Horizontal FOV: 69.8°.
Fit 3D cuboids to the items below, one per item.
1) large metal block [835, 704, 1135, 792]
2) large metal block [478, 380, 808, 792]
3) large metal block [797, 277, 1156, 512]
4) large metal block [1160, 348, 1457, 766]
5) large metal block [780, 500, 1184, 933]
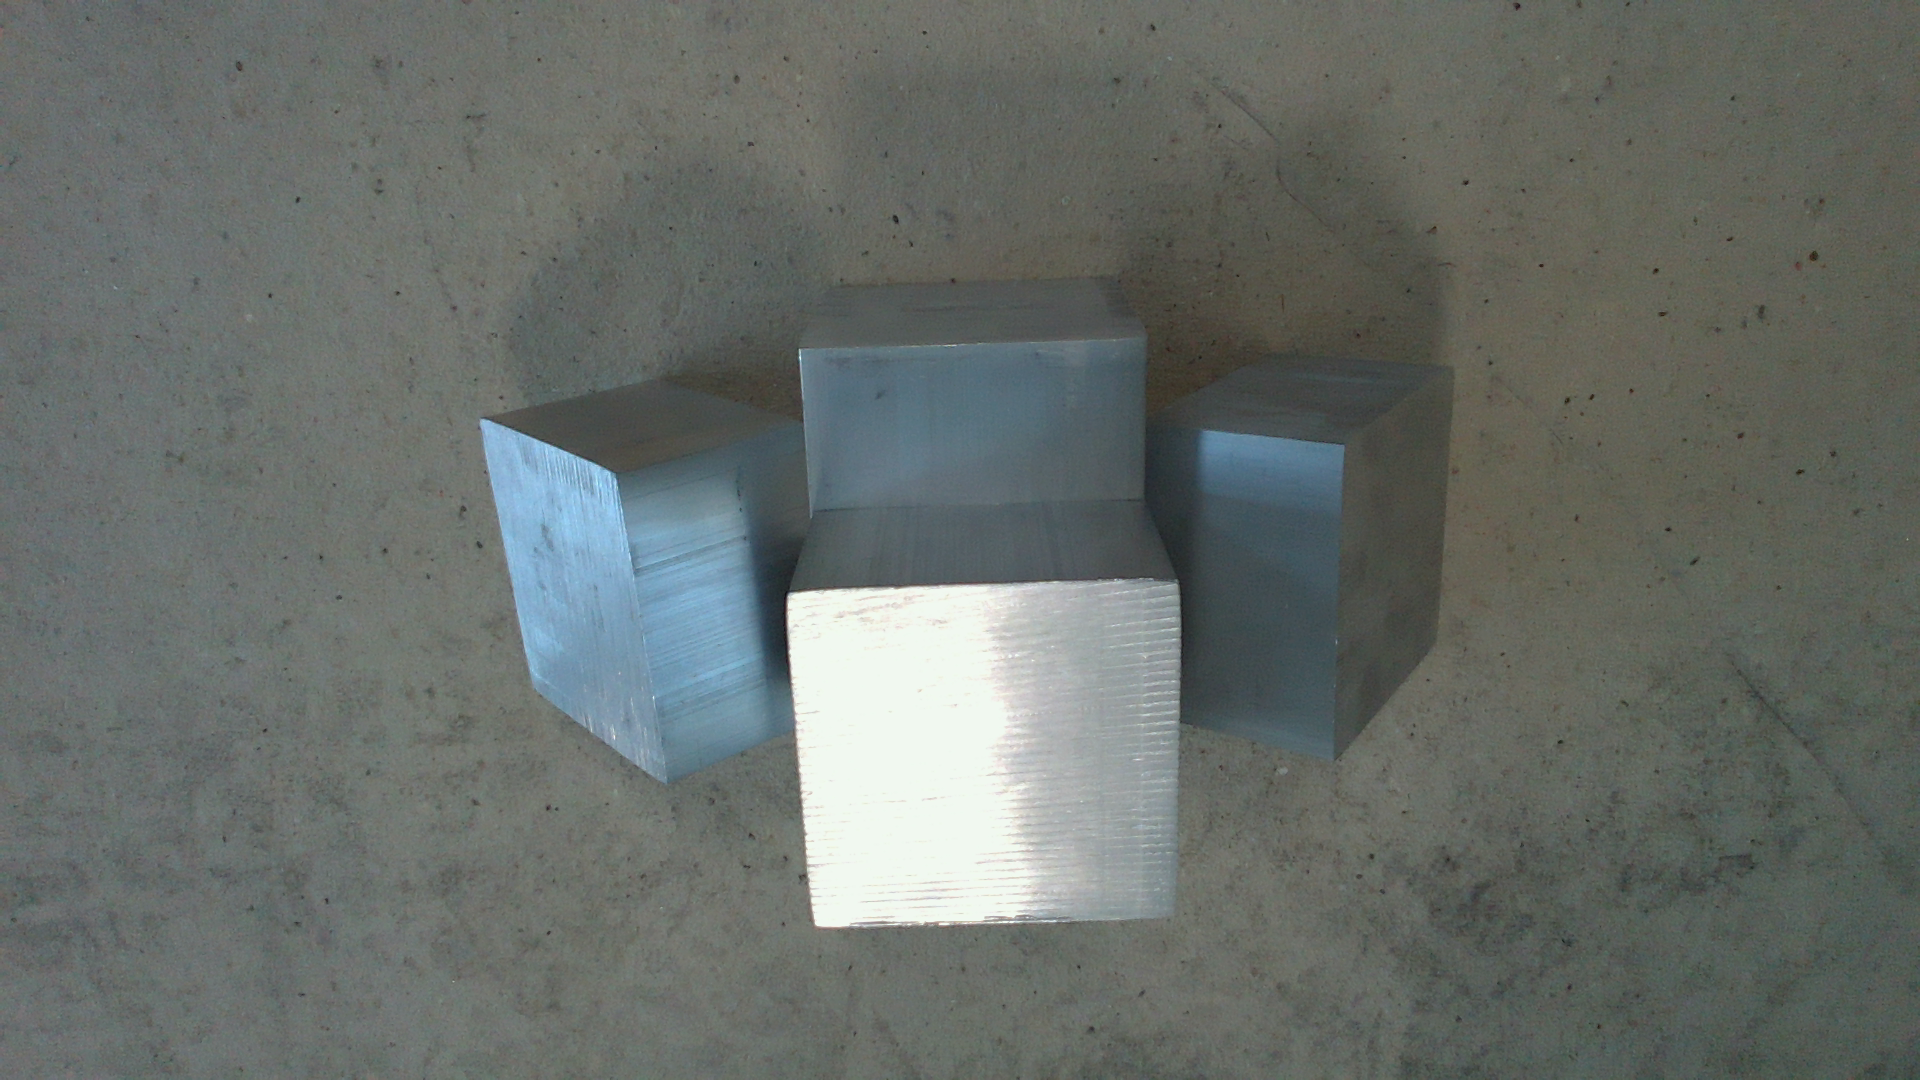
[{"bbox_3d":[0.008,0.051,0.385,0.080,0.080,0.050,-3,110,2],"label":"large metal block"},{"bbox_3d":[-0.079,0.007,0.360,0.050,0.080,0.080,-19,115,-36],"label":"large metal block"},{"bbox_3d":[0.004,-0.034,0.352,0.080,0.080,0.050,-2,110,0],"label":"large metal block"},{"bbox_3d":[0.089,0.000,0.357,0.050,0.080,0.080,10,114,33],"label":"large metal block"},{"bbox_3d":[0.006,0.038,0.310,0.080,0.050,0.080,-2,110,1],"label":"large metal block"}]
